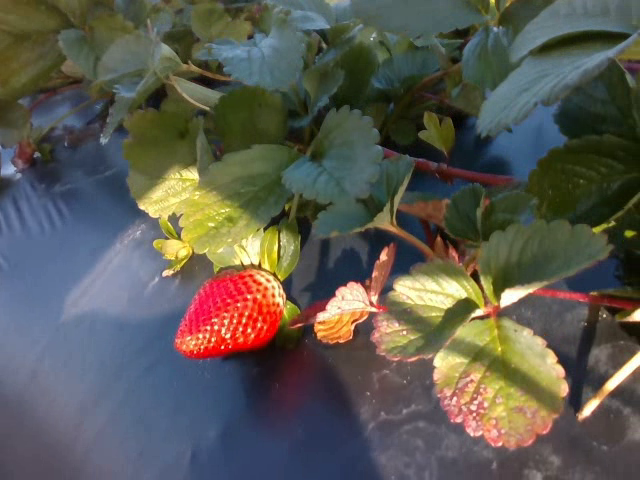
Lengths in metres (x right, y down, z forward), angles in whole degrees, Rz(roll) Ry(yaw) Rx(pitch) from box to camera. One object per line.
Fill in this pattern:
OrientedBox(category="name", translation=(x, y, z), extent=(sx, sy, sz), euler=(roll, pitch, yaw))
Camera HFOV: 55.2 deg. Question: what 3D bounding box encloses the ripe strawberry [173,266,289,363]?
OrientedBox(category="ripe strawberry", translation=(-0.038, 0.030, 0.238), extent=(0.040, 0.041, 0.056), euler=(-32, 3, 41))
